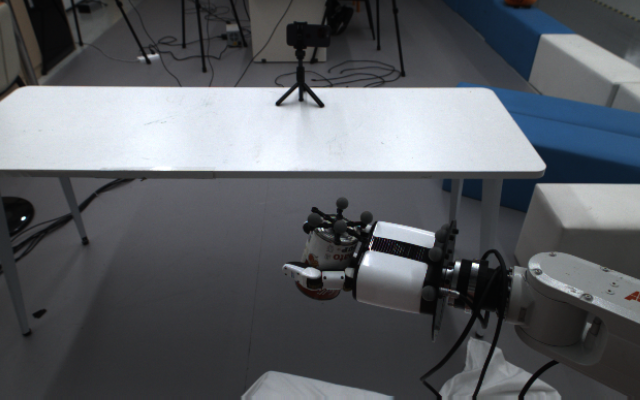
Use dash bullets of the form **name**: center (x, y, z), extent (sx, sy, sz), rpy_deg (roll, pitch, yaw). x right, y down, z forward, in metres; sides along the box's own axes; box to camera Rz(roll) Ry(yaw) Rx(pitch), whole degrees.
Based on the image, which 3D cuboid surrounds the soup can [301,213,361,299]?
- **soup can**: center (0.011, 0.079, 0.665), extent (0.067, 0.101, 0.067), rpy_deg (13, 30, -8)
